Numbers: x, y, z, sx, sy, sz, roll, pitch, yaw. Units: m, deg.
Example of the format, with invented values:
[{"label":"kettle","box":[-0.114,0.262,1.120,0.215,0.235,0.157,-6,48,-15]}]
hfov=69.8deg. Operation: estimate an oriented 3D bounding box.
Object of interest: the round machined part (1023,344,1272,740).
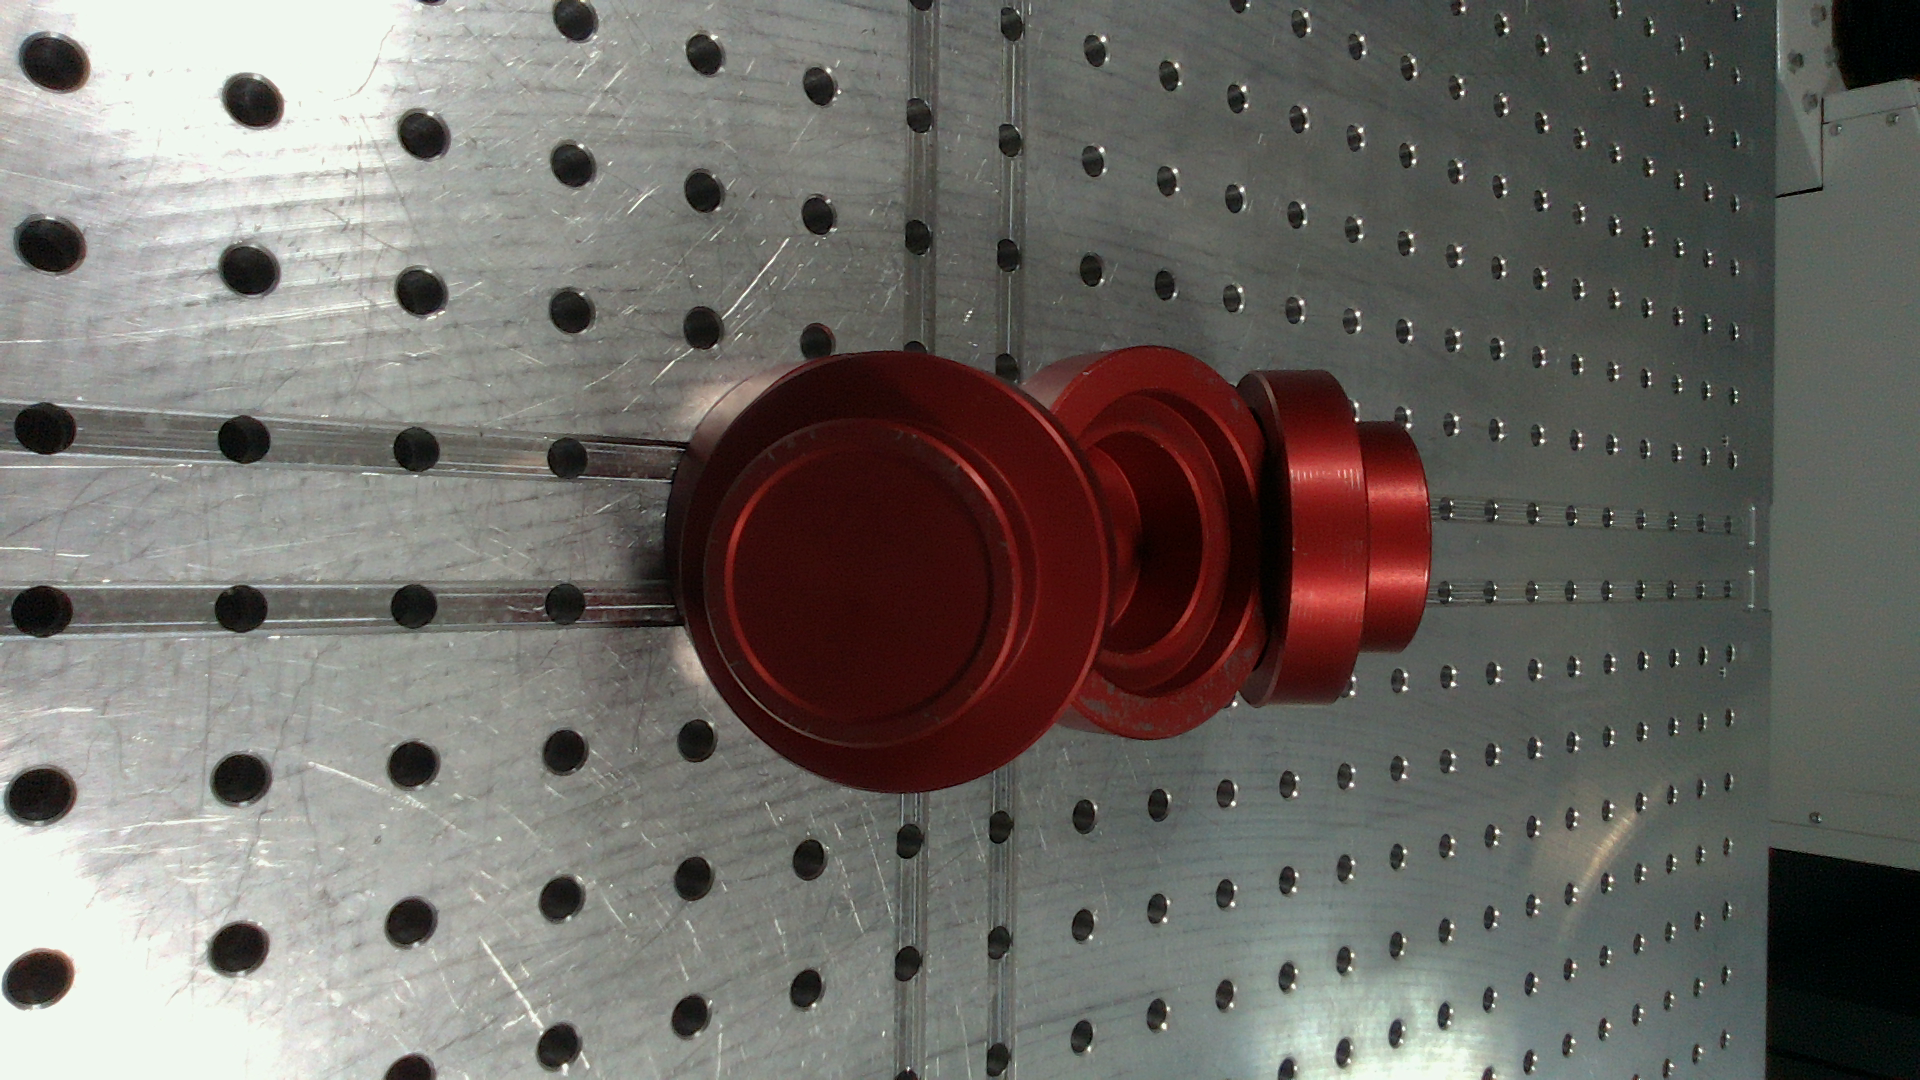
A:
[{"label":"round machined part","box":[0.038,0.000,0.357,0.098,0.042,0.098,0,90,-40]}]

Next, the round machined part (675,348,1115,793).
[{"label":"round machined part","box":[-0.017,0.007,0.300,0.042,0.098,0.098,-20,106,-77]}]

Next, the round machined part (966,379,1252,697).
[{"label":"round machined part","box":[0.052,-0.001,0.424,0.098,0.042,0.098,0,90,-40]}]

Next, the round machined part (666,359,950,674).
[{"label":"round machined part","box":[-0.023,0.000,0.361,0.098,0.042,0.098,0,90,-40]}]

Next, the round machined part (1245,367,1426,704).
[{"label":"round machined part","box":[0.104,-0.001,0.402,0.042,0.098,0.098,0,90,1]}]
